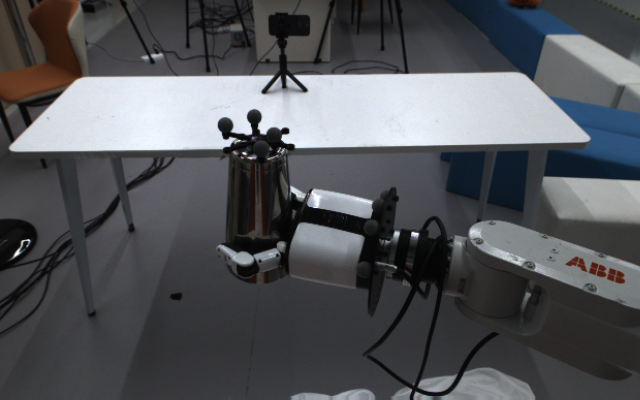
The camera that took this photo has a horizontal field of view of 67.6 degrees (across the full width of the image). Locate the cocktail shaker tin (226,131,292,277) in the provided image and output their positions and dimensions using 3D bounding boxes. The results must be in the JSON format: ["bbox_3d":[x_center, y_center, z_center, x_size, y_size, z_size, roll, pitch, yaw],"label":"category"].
[{"bbox_3d":[-0.074,0.009,0.597,0.093,0.170,0.093,3,34,-2],"label":"cocktail shaker tin"}]
